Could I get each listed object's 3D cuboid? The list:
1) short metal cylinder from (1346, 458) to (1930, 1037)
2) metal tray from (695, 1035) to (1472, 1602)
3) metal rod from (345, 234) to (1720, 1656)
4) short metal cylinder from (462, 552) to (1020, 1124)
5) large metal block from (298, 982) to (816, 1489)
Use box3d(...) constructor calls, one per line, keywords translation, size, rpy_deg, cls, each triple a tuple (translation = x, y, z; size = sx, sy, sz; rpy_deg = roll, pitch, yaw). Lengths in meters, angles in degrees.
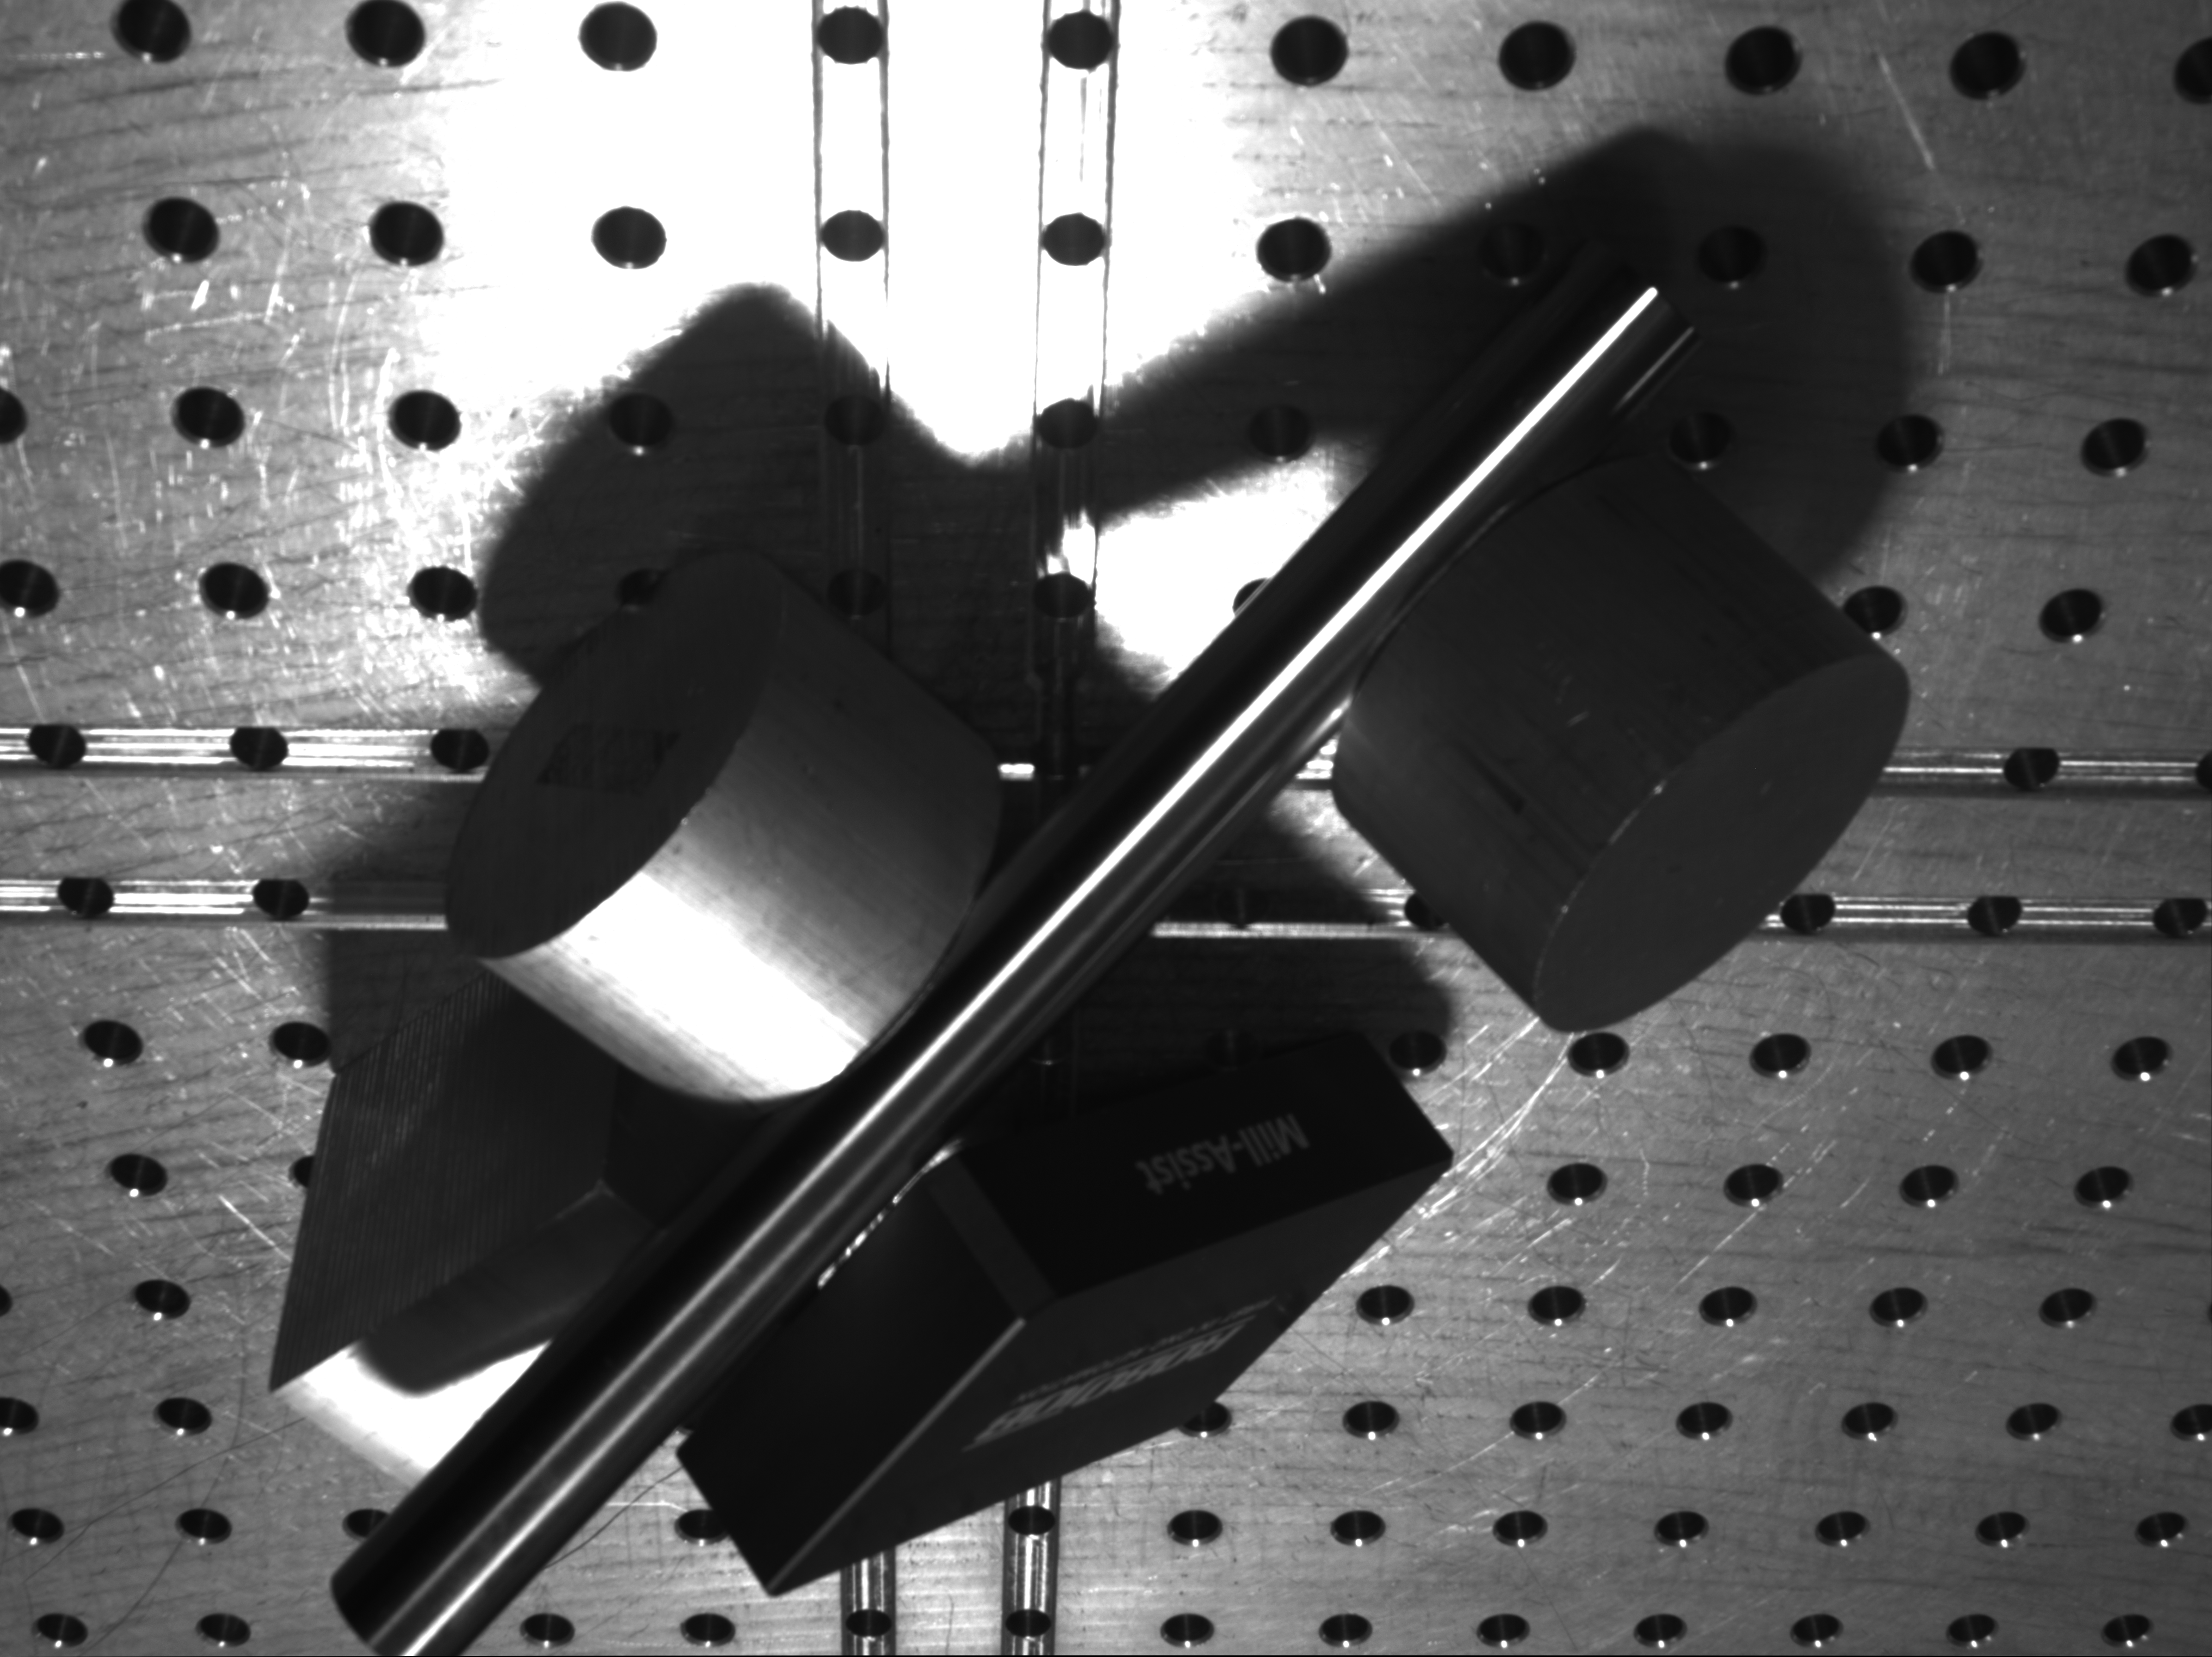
box3d(translation=(0.086, -0.013, 0.591), size=(0.080, 0.050, 0.080), rpy_deg=(-32, 152, -20), cls="short metal cylinder")
box3d(translation=(-0.001, 0.086, 0.658), size=(0.130, 0.030, 0.090), rpy_deg=(-11, 148, -52), cls="metal tray")
box3d(translation=(-0.015, 0.024, 0.591), size=(0.300, 0.025, 0.025), rpy_deg=(-47, 119, 7), cls="metal rod")
box3d(translation=(-0.060, 0.001, 0.604), size=(0.080, 0.080, 0.050), rpy_deg=(-36, 122, 25), cls="short metal cylinder")
box3d(translation=(-0.093, 0.069, 0.660), size=(0.080, 0.080, 0.050), rpy_deg=(-32, 124, 23), cls="large metal block")
